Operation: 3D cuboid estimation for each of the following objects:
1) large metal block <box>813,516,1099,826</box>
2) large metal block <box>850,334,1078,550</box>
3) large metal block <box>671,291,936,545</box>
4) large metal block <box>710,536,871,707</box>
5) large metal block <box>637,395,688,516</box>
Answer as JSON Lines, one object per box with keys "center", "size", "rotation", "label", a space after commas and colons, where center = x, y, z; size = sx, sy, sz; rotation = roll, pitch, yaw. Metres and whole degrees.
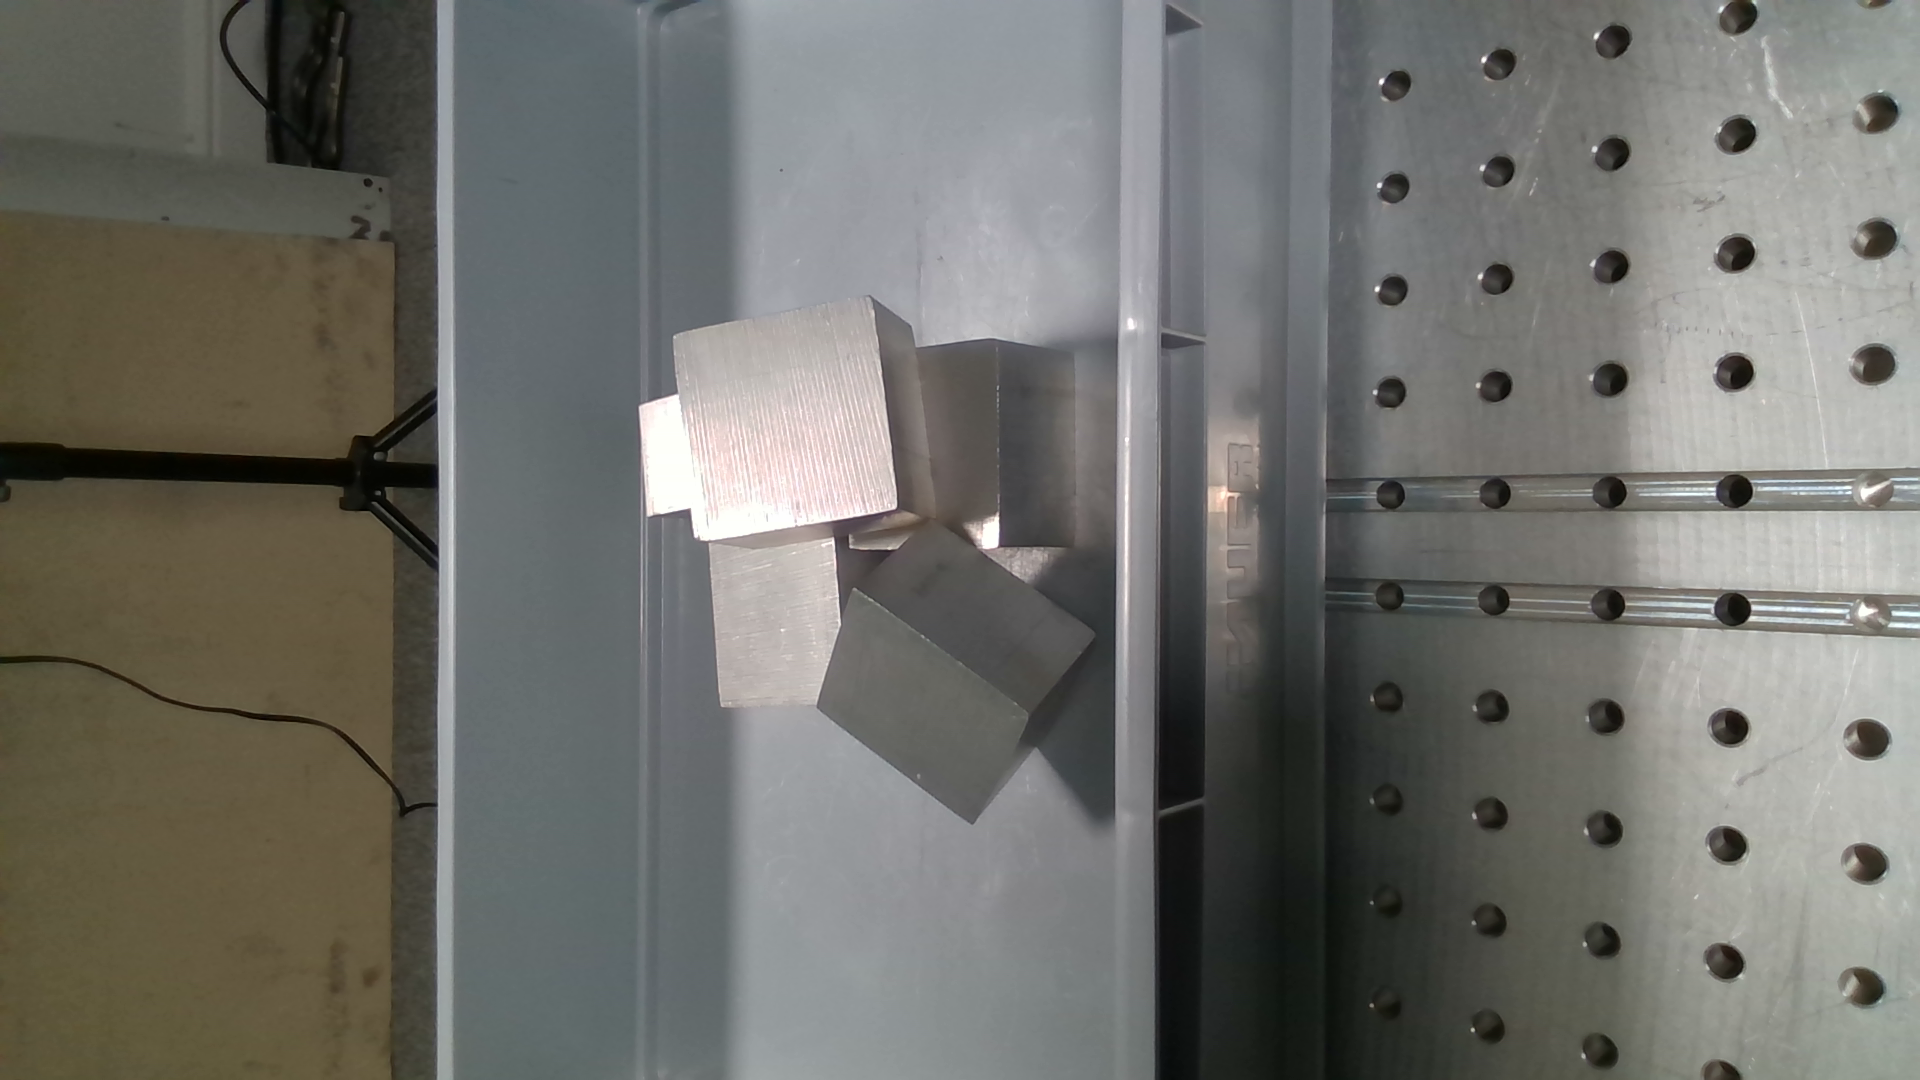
{"center": [-0.004, 0.051, 0.535], "size": [0.080, 0.050, 0.080], "rotation": [35, 138, 12], "label": "large metal block"}
{"center": [0.000, -0.037, 0.564], "size": [0.080, 0.050, 0.080], "rotation": [-1, 89, 40], "label": "large metal block"}
{"center": [-0.059, -0.043, 0.528], "size": [0.080, 0.050, 0.080], "rotation": [-9, 84, 15], "label": "large metal block"}
{"center": [-0.065, 0.032, 0.617], "size": [0.080, 0.050, 0.080], "rotation": [-7, 86, 40], "label": "large metal block"}
{"center": [-0.086, -0.040, 0.616], "size": [0.080, 0.080, 0.050], "rotation": [-9, 85, 40], "label": "large metal block"}
